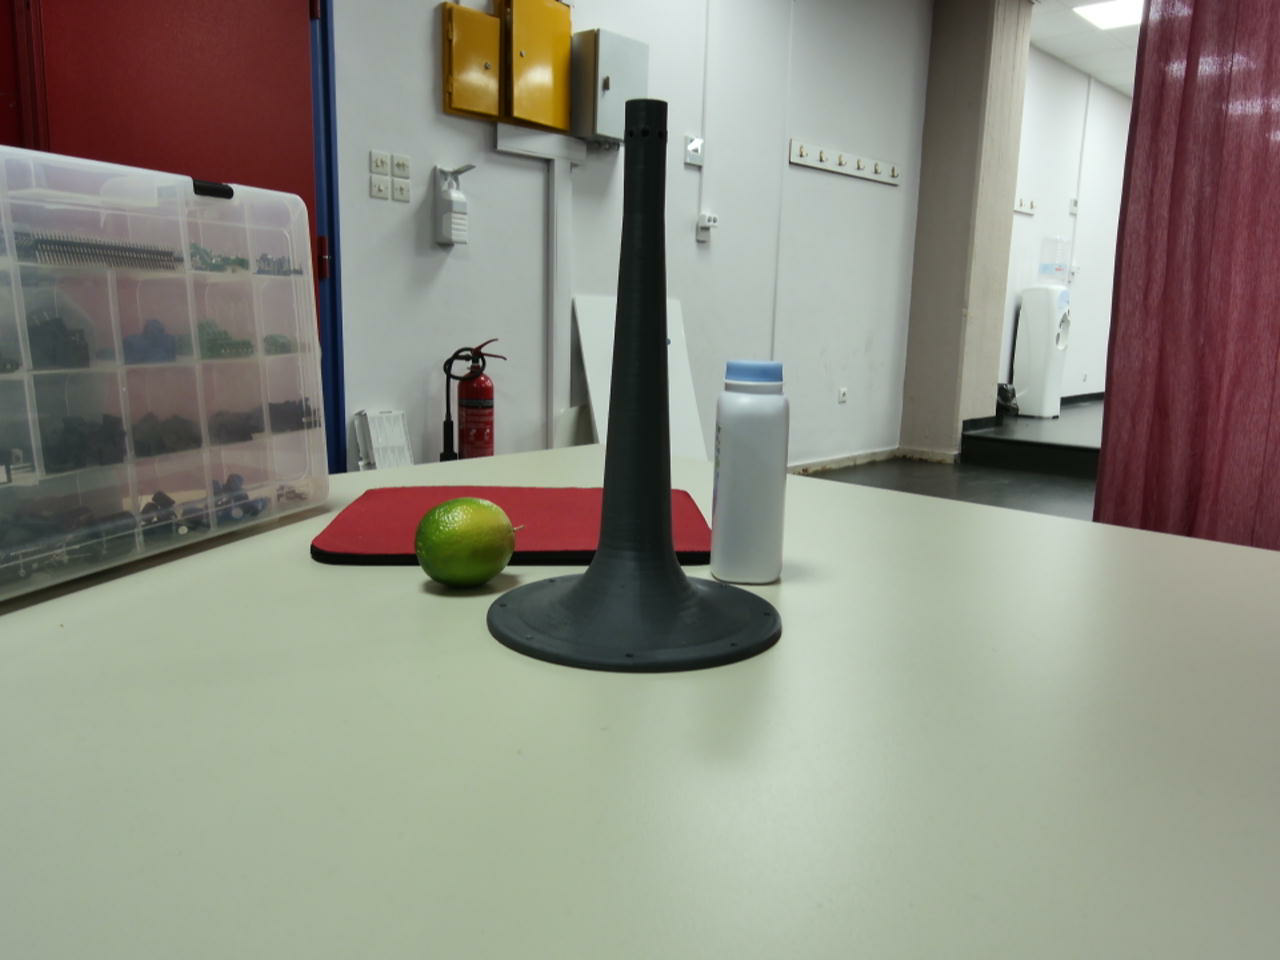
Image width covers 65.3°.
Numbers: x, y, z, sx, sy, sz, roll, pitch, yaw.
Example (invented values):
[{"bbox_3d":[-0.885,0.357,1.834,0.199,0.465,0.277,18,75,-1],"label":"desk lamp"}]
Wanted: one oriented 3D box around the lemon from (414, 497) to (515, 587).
[{"bbox_3d":[-0.099,0.035,0.569,0.055,0.050,0.054,1,8,2],"label":"lemon"}]
